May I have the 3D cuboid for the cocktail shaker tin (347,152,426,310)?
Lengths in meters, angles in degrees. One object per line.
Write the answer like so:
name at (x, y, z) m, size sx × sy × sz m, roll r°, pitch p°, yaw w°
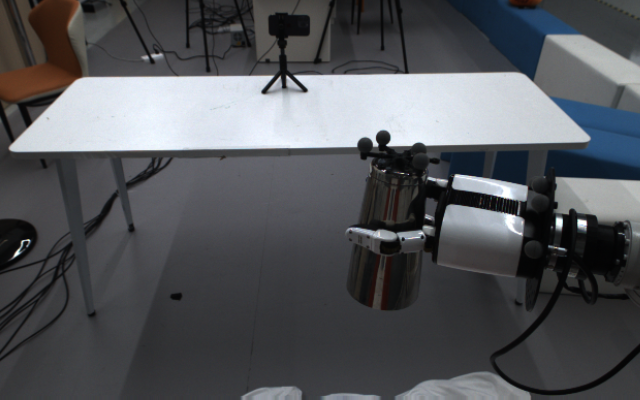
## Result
cocktail shaker tin at (0.086, 0.036, 0.584) m, size 0.093 × 0.170 × 0.093 m, roll 2°, pitch 26°, yaw -1°
